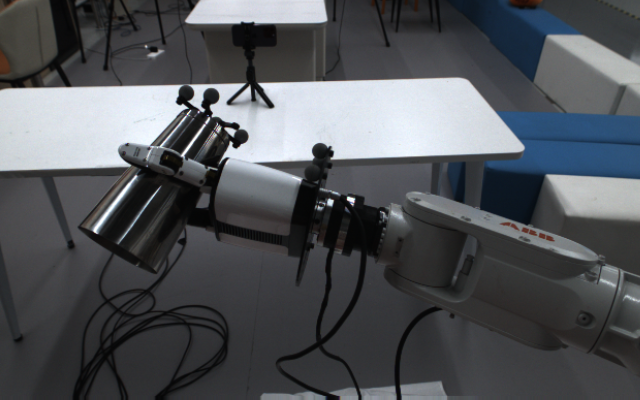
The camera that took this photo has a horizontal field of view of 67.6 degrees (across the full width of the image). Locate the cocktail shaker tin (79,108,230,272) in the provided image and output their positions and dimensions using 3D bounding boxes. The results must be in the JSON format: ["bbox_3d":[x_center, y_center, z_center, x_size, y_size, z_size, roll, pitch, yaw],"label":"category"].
[{"bbox_3d":[-0.168,-0.018,0.530,0.093,0.093,0.170,18,66,22],"label":"cocktail shaker tin"}]
